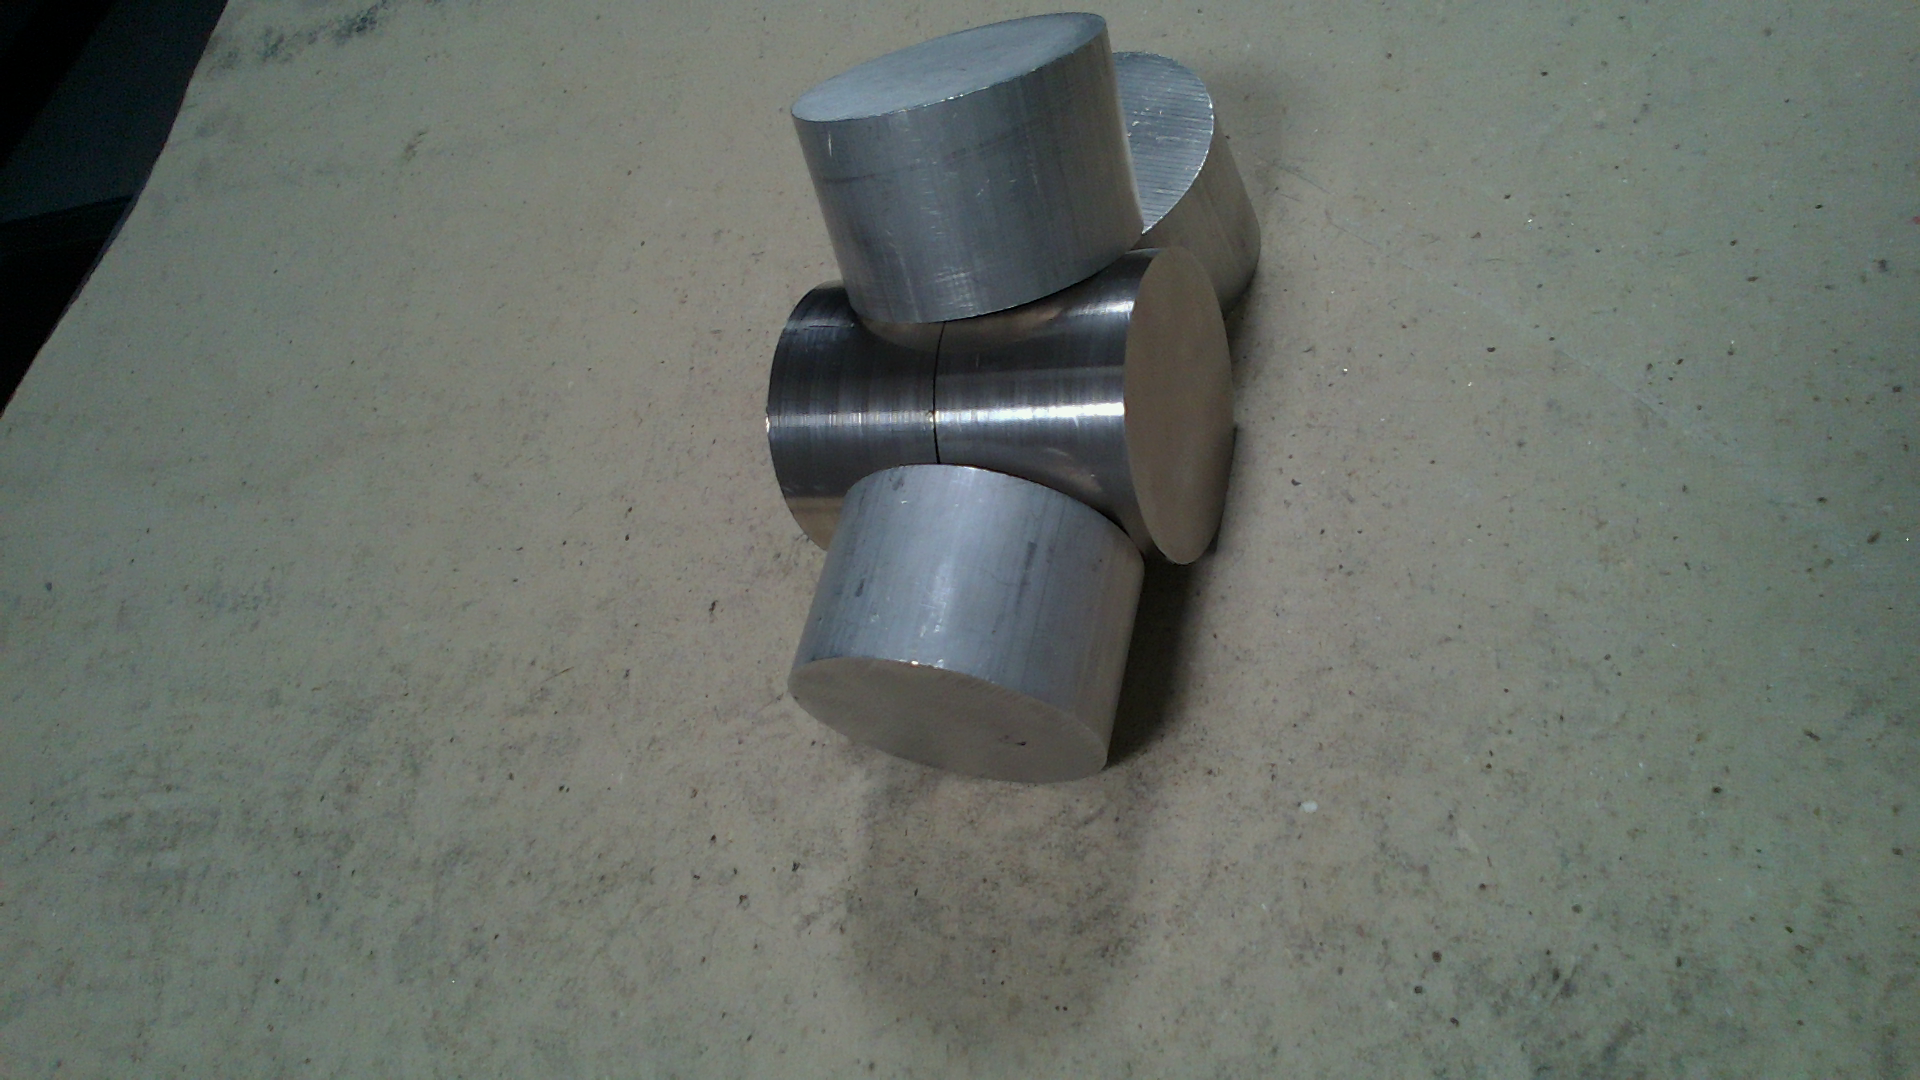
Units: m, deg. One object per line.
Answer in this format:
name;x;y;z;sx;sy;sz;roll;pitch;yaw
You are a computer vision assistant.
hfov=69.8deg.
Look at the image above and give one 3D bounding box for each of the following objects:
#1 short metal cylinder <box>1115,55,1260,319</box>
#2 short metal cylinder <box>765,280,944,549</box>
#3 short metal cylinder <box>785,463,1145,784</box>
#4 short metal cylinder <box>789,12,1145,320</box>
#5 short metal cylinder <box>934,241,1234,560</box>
short metal cylinder;0.045;-0.098;0.415;0.080;0.050;0.080;-14;56;21
short metal cylinder;-0.010;-0.034;0.386;0.050;0.080;0.080;1;62;29
short metal cylinder;0.002;0.023;0.343;0.080;0.080;0.050;0;61;29
short metal cylinder;0.003;-0.096;0.350;0.080;0.050;0.080;-13;29;7
short metal cylinder;0.035;-0.035;0.360;0.050;0.080;0.080;0;61;29
